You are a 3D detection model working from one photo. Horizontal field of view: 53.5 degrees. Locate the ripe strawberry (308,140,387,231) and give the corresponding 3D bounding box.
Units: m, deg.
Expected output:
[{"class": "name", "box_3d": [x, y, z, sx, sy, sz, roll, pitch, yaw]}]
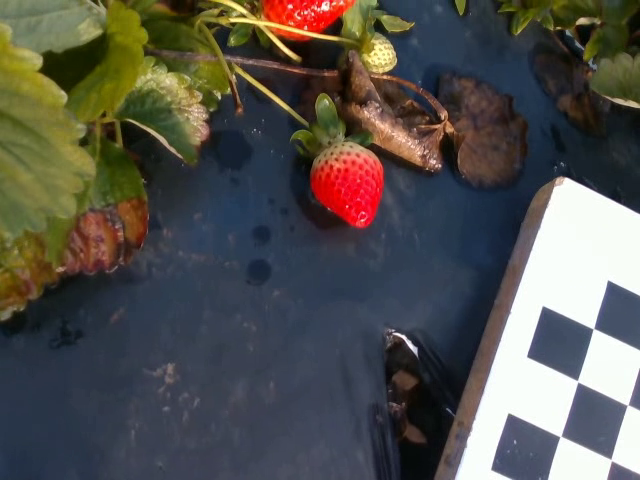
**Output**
[{"class": "ripe strawberry", "box_3d": [0.012, -0.023, 0.262, 0.035, 0.043, 0.030, -10, -16, -15]}]
